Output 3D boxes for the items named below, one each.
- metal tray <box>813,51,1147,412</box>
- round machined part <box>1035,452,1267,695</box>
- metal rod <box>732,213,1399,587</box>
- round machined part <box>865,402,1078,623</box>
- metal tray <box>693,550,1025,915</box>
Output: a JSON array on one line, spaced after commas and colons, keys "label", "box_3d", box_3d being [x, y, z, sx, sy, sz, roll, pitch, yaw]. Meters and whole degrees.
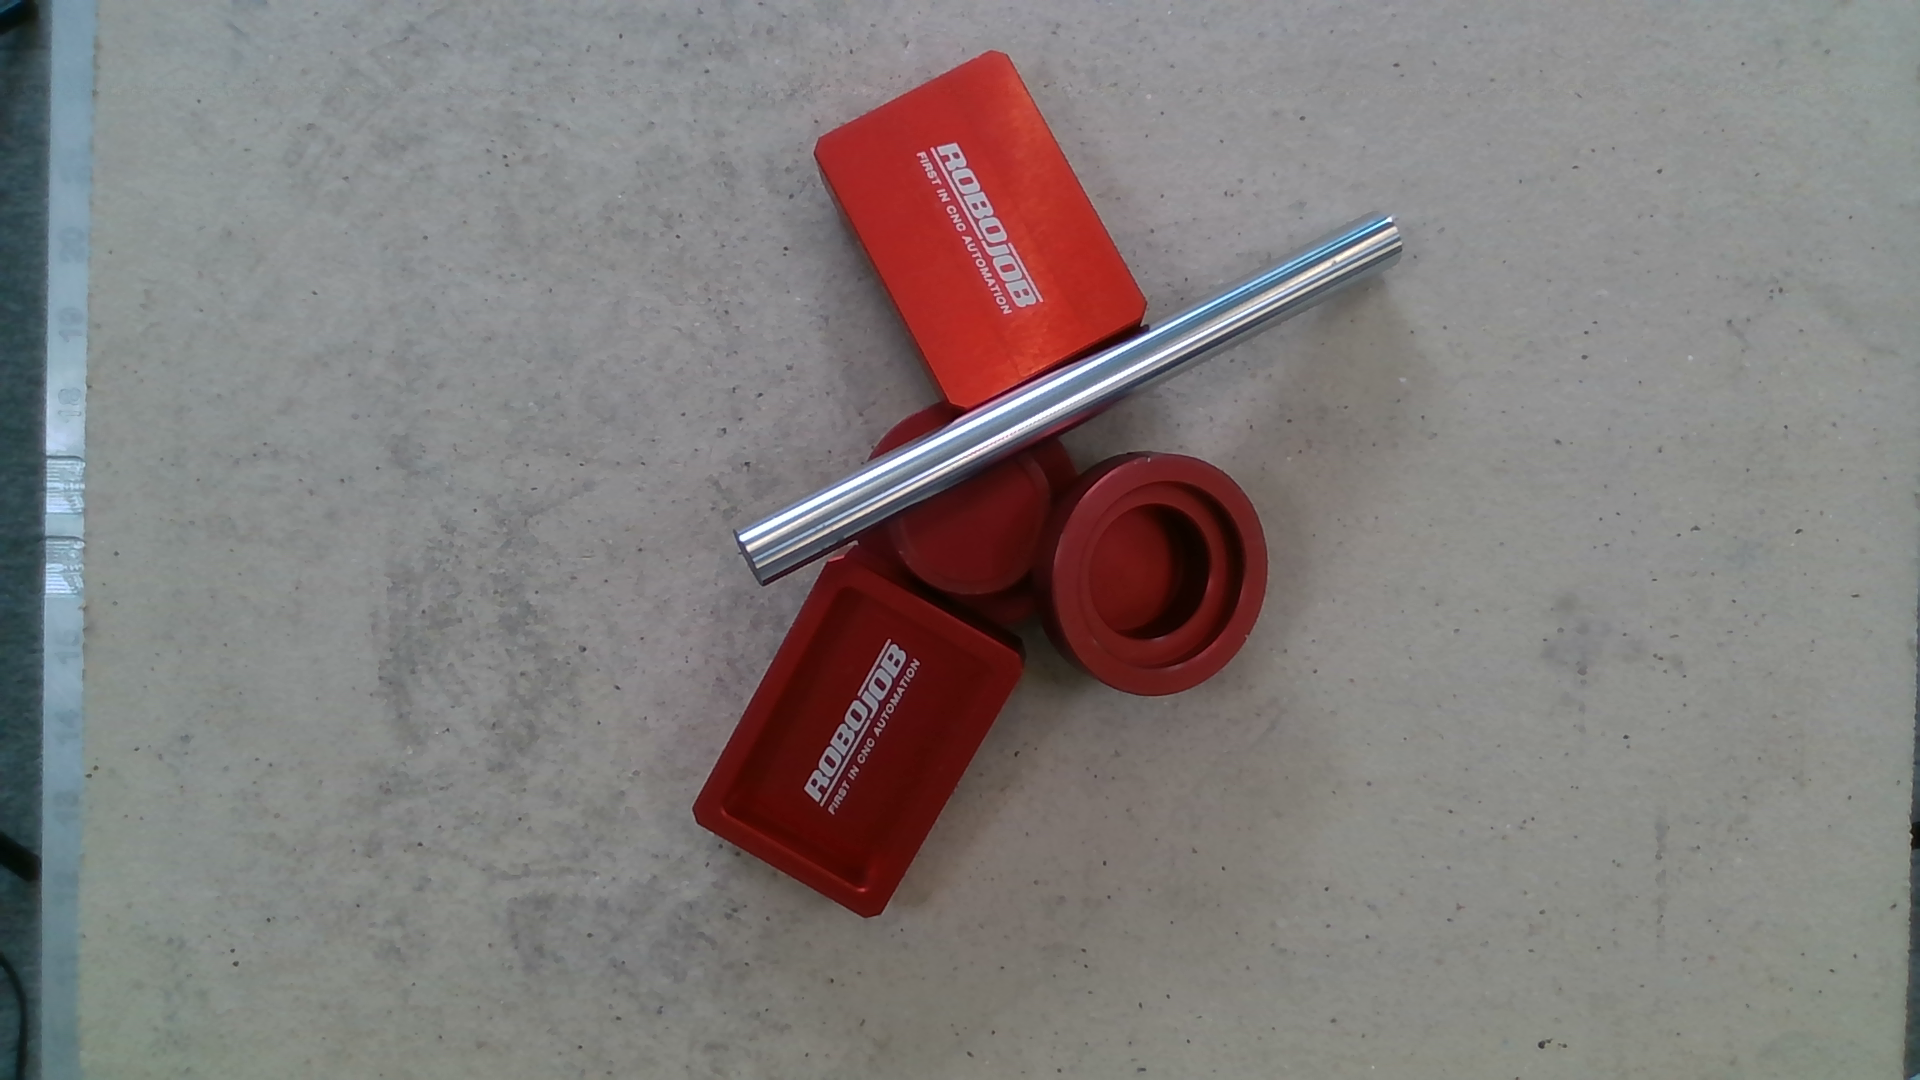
[{"label": "metal tray", "box_3d": [0.008, -0.125, 0.573, 0.090, 0.030, 0.130, -27, 82, -3]}, {"label": "round machined part", "box_3d": [0.074, 0.012, 0.569, 0.098, 0.042, 0.098, -3, 98, -21]}, {"label": "metal rod", "box_3d": [0.049, -0.060, 0.554, 0.300, 0.025, 0.025, -27, 90, -13]}, {"label": "round machined part", "box_3d": [0.004, -0.012, 0.579, 0.098, 0.042, 0.098, 0, 91, 0]}, {"label": "metal tray", "box_3d": [-0.042, 0.079, 0.575, 0.090, 0.030, 0.130, 29, 101, 0]}]
